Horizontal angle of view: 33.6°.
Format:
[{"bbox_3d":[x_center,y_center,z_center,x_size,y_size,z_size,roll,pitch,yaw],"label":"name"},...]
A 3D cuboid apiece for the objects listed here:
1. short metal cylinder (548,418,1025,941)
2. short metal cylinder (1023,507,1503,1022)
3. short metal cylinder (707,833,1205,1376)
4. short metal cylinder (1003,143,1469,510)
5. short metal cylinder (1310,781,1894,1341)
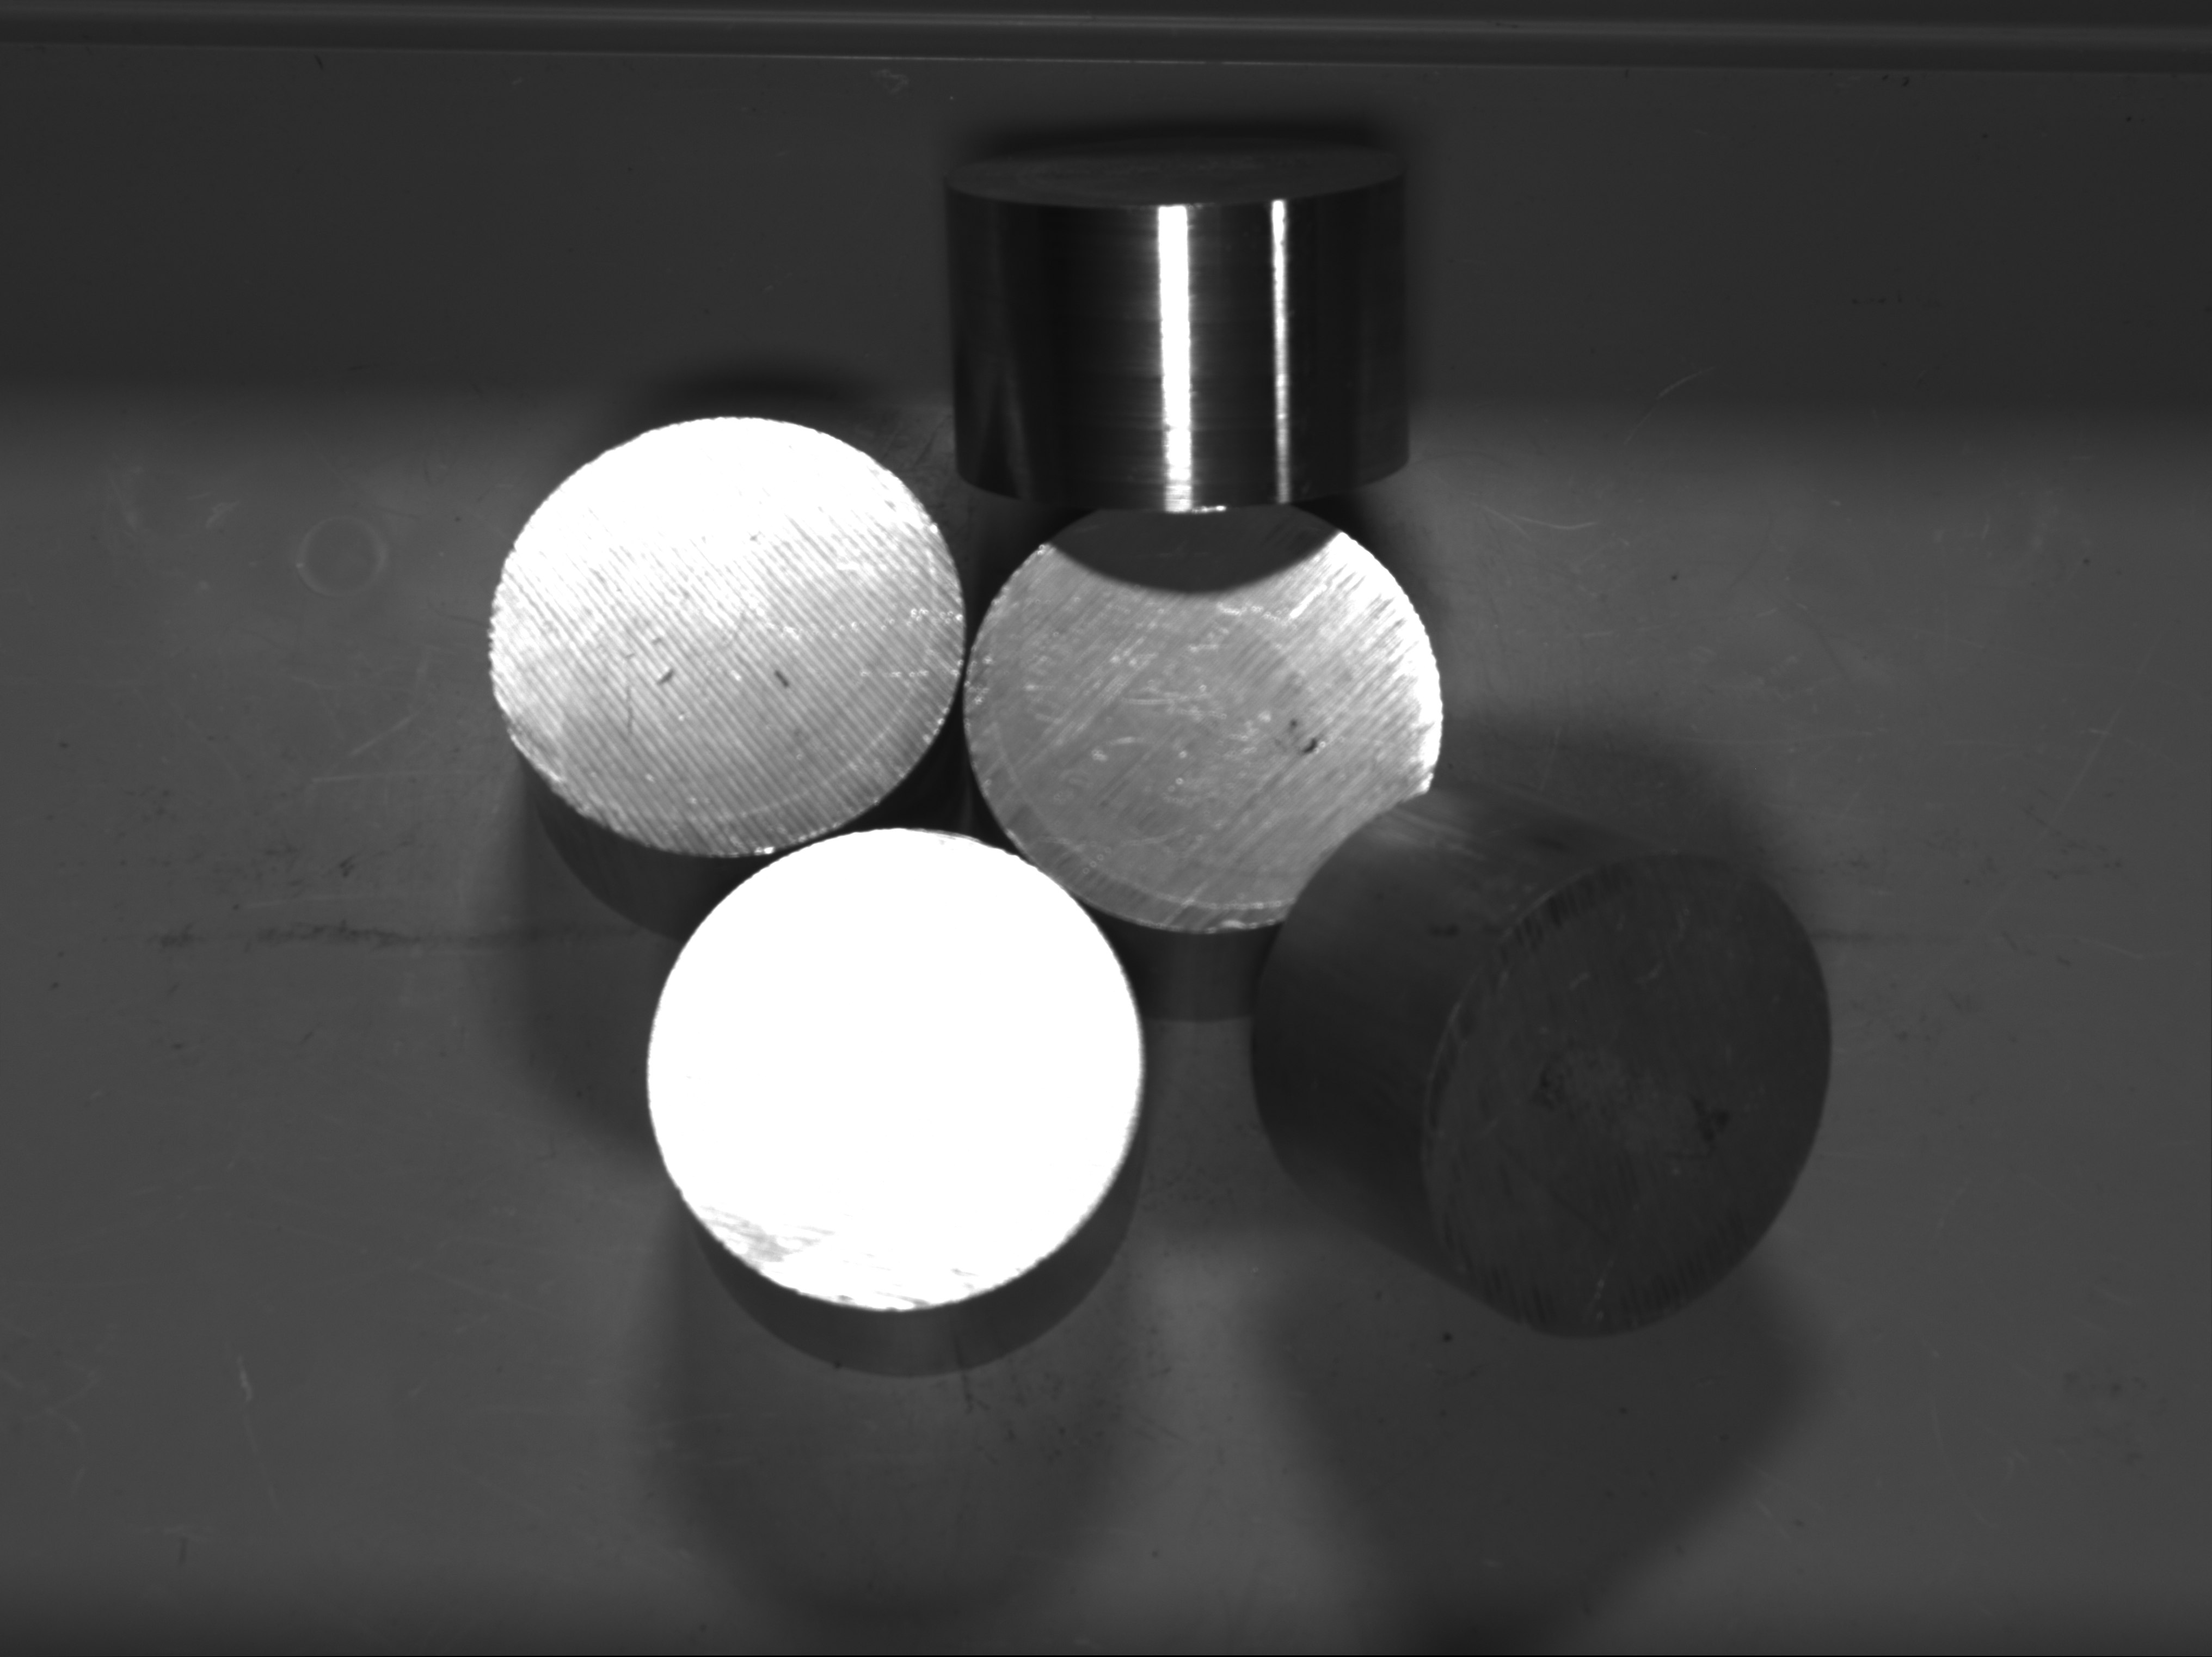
[{"bbox_3d":[-0.054,-0.024,0.639,0.080,0.050,0.080,0,70,0],"label":"short metal cylinder"},{"bbox_3d":[0.026,-0.012,0.634,0.080,0.050,0.080,0,70,0],"label":"short metal cylinder"},{"bbox_3d":[-0.024,0.047,0.613,0.080,0.050,0.080,0,70,0],"label":"short metal cylinder"},{"bbox_3d":[0.023,-0.089,0.640,0.080,0.080,0.050,-3,108,-1],"label":"short metal cylinder"},{"bbox_3d":[0.080,0.037,0.595,0.080,0.050,0.080,-8,107,-28],"label":"short metal cylinder"}]
